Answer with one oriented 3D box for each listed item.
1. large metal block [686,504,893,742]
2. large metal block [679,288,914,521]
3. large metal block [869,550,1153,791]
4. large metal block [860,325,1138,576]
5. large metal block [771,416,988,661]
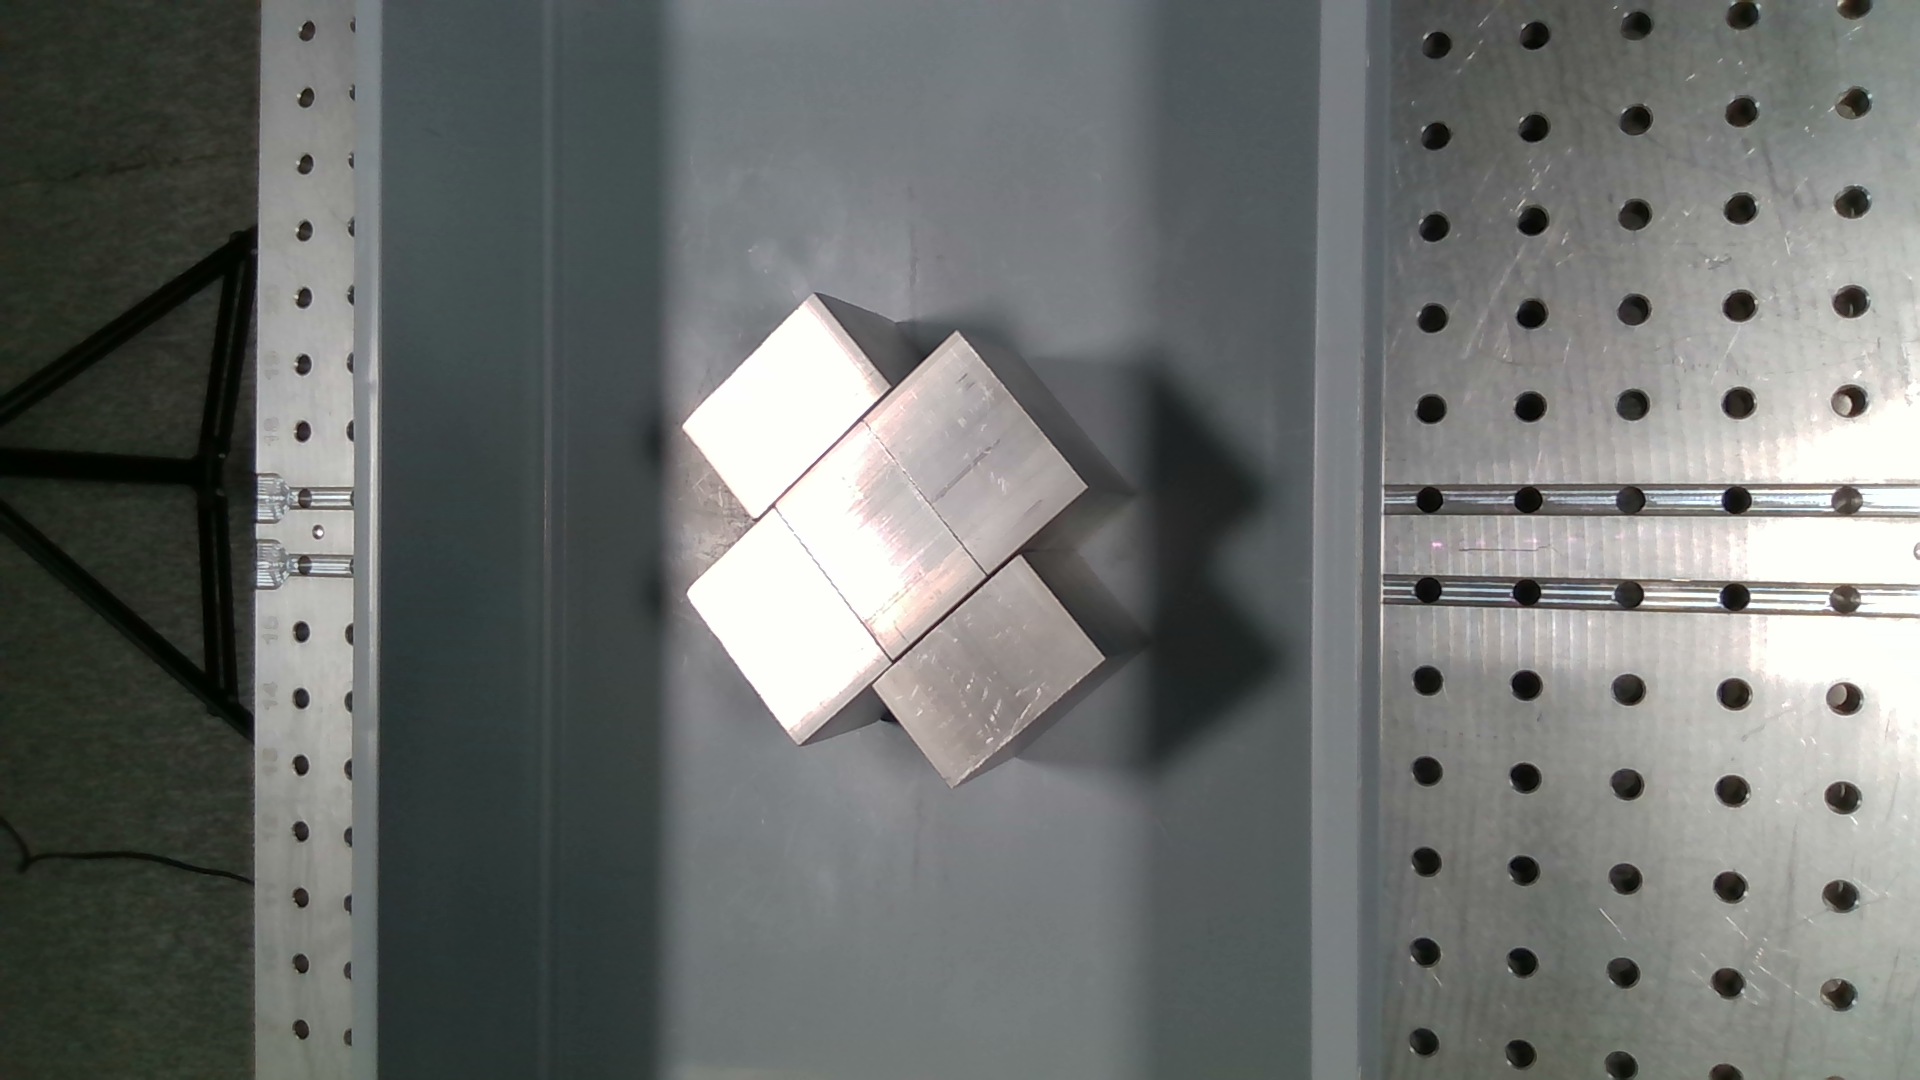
[{"bbox_3d":[-0.054,0.032,0.577,0.050,0.080,0.080,-42,77,16],"label":"large metal block"},{"bbox_3d":[-0.056,-0.053,0.576,0.080,0.080,0.050,-43,77,15],"label":"large metal block"},{"bbox_3d":[0.023,0.049,0.548,0.080,0.080,0.050,-43,77,15],"label":"large metal block"},{"bbox_3d":[0.018,-0.033,0.548,0.050,0.080,0.080,-42,77,16],"label":"large metal block"},{"bbox_3d":[-0.018,-0.001,0.563,0.050,0.080,0.080,-42,77,16],"label":"large metal block"}]
